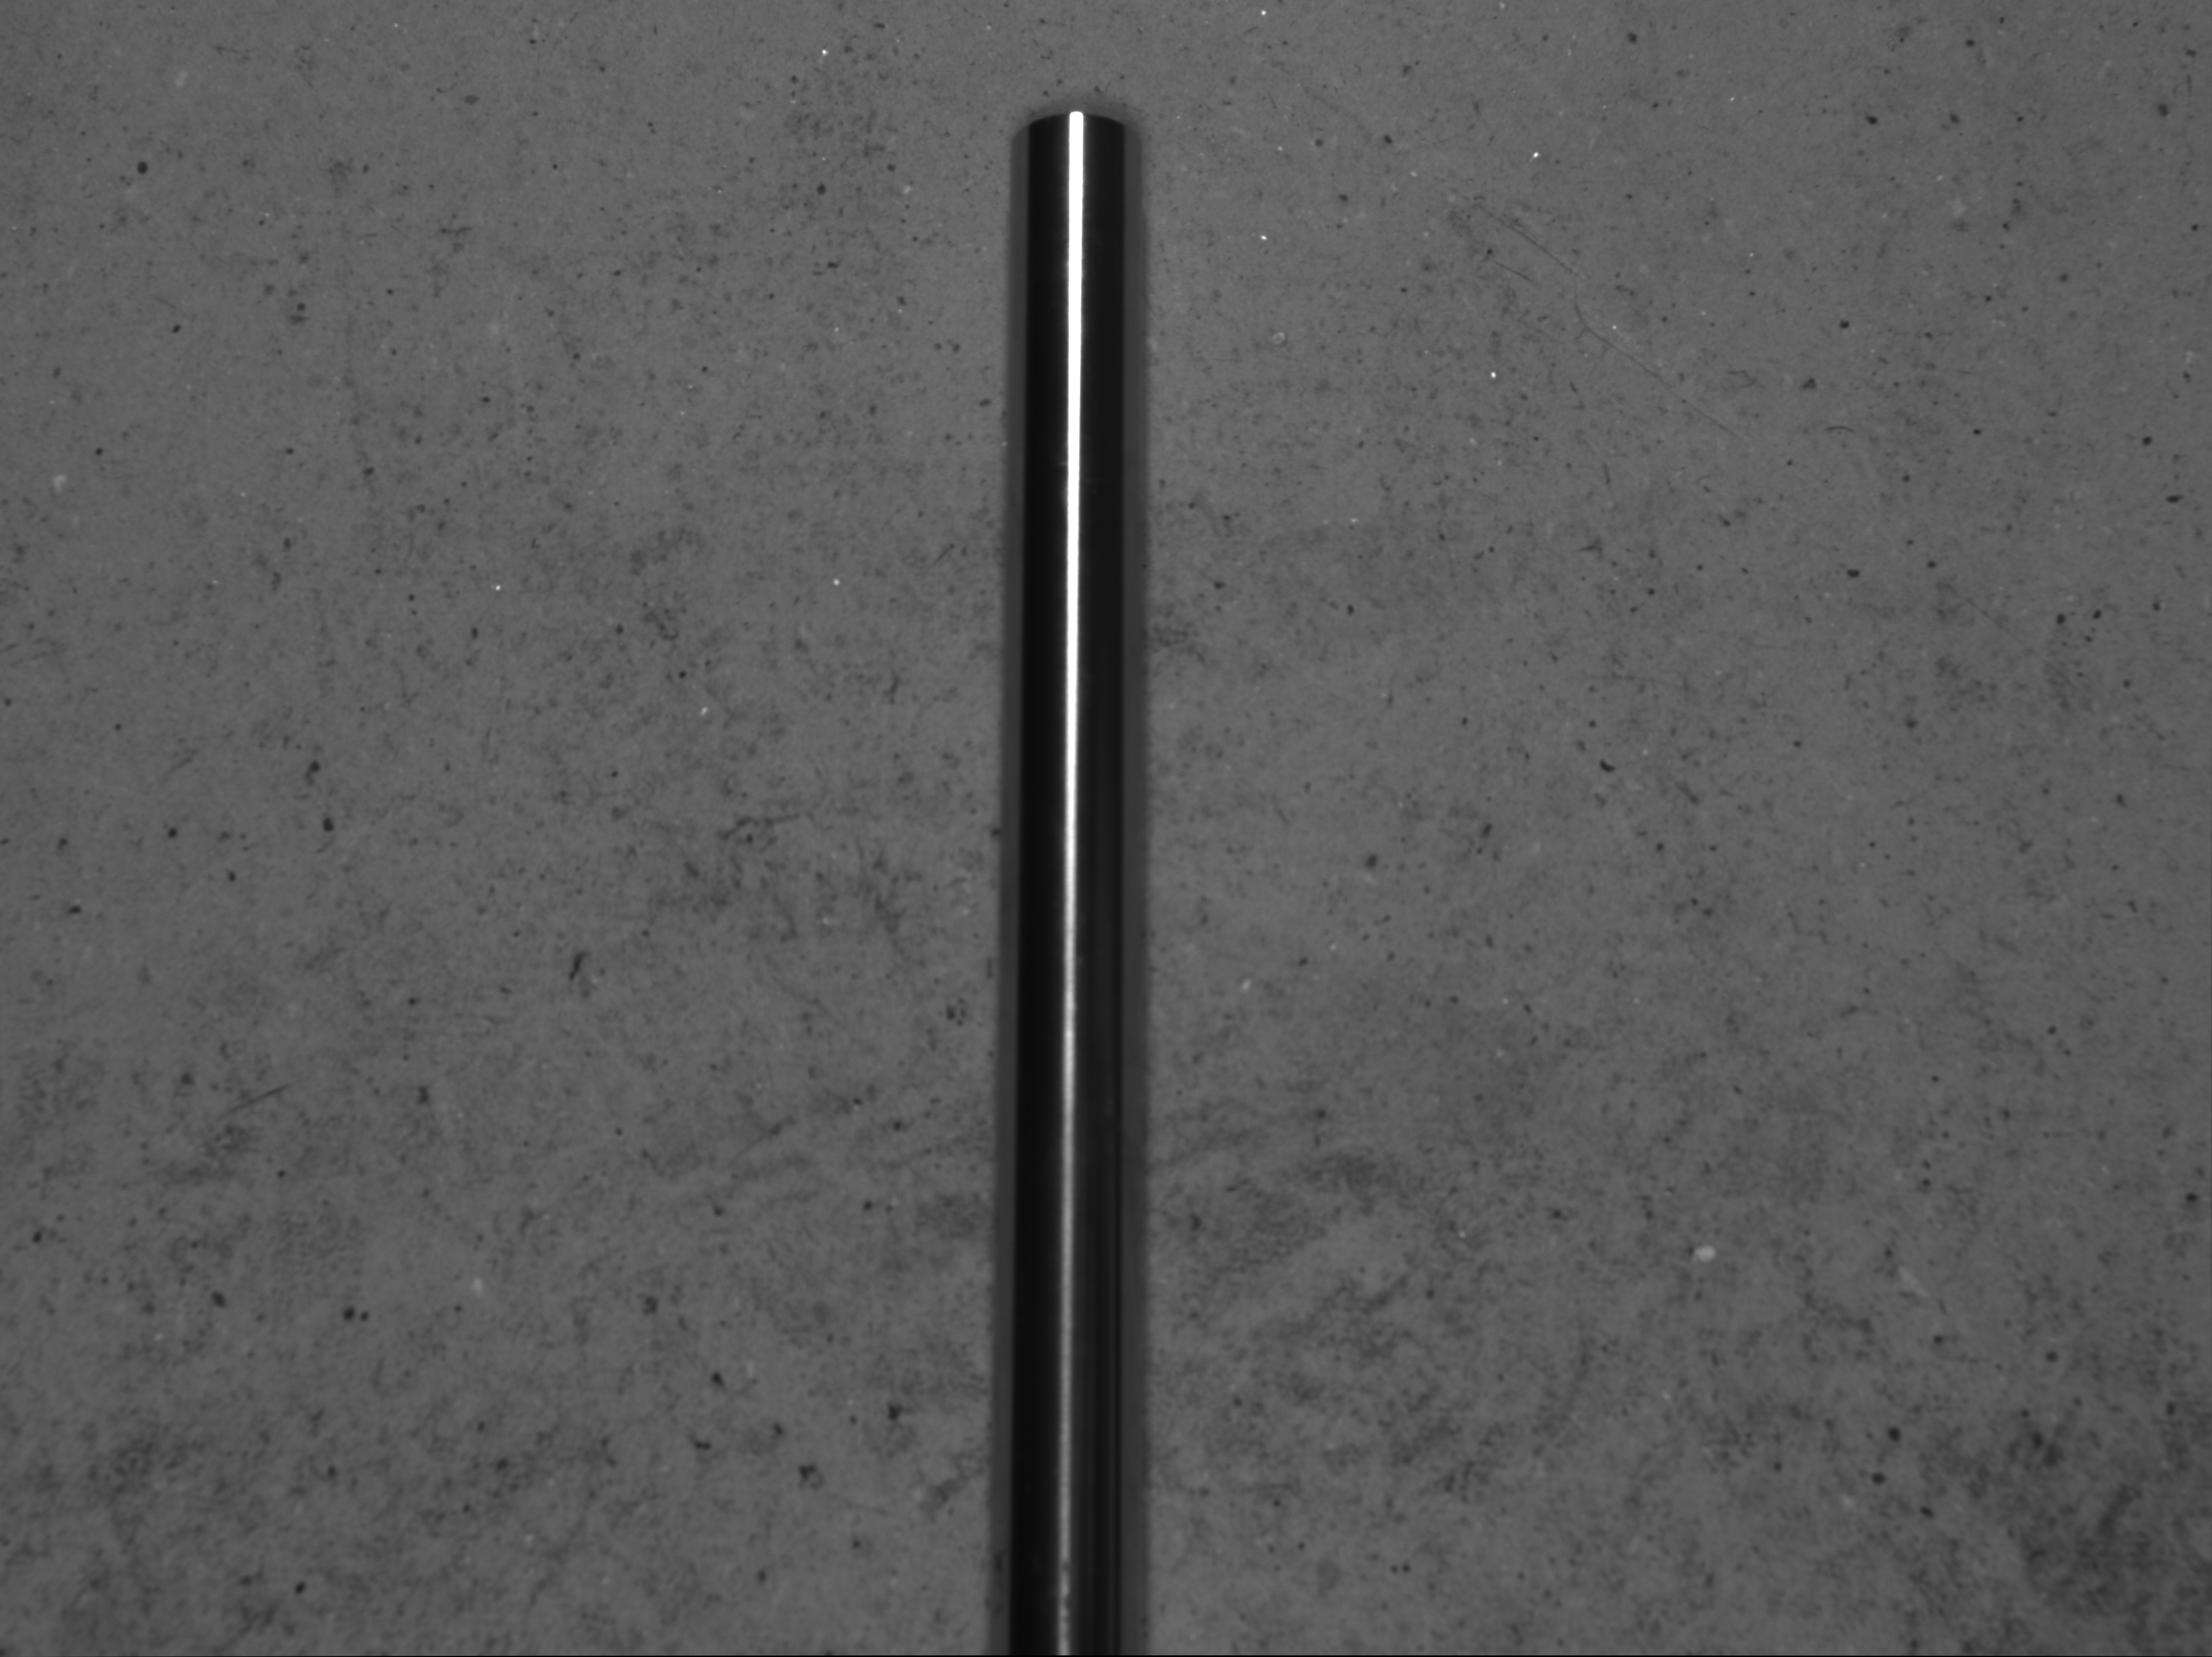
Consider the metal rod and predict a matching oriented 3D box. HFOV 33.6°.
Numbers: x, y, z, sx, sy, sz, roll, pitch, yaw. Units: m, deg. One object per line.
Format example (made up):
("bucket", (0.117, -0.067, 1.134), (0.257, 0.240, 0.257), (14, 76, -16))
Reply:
("metal rod", (-0.002, 0.012, 0.640), (0.025, 0.025, 0.300), (0, 70, 0))
